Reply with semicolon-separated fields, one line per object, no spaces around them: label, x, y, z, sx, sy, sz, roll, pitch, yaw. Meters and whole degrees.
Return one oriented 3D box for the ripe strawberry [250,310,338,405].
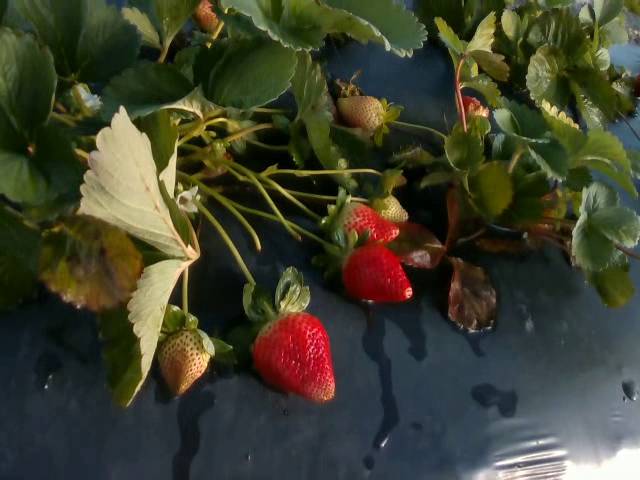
ripe strawberry;-0.012;0.070;0.350;0.050;0.050;0.065;-32;44;-11

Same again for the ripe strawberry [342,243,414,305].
ripe strawberry;0.039;0.028;0.405;0.055;0.045;0.041;29;-9;37
